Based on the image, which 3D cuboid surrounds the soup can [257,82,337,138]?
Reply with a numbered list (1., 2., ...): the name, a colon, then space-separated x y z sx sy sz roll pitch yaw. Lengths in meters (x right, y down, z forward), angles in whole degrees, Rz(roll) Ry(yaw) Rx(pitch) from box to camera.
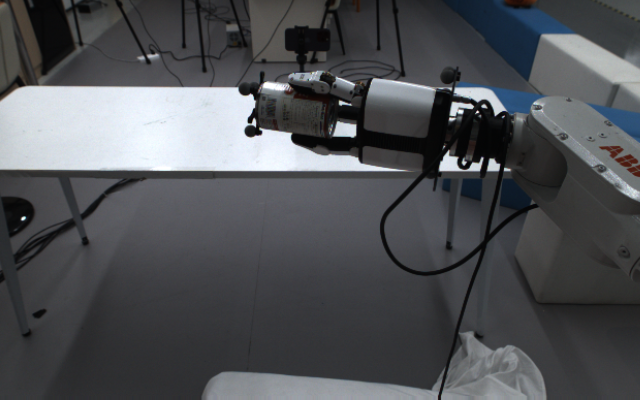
1. soup can: -0.029 -0.124 0.665 0.101 0.067 0.067 9 35 9
